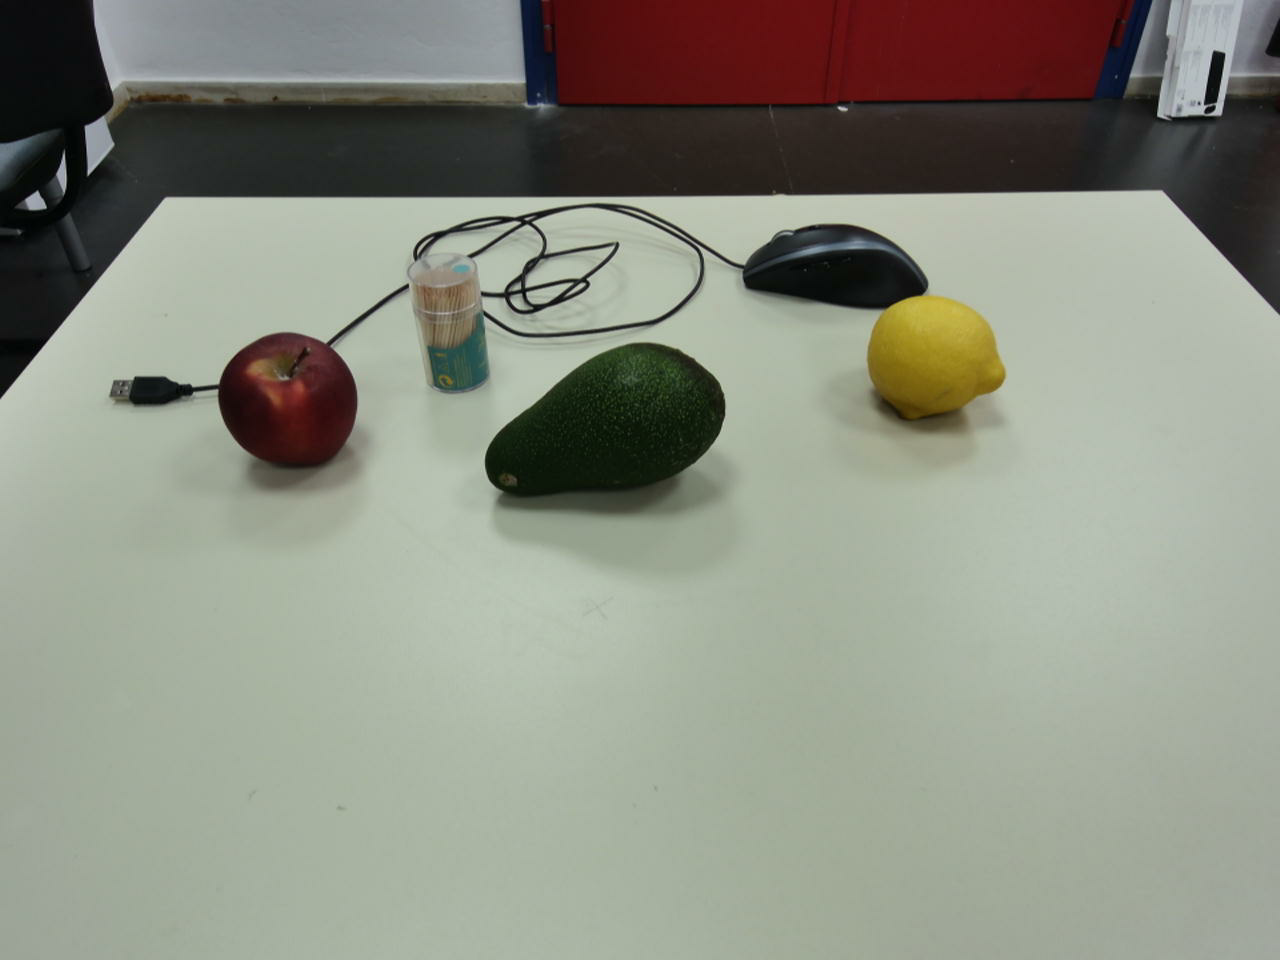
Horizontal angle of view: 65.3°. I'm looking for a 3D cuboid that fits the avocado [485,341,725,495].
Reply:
[{"bbox_3d":[-0.017,-0.034,0.520,0.123,0.076,0.074,5,39,5],"label":"avocado"}]
